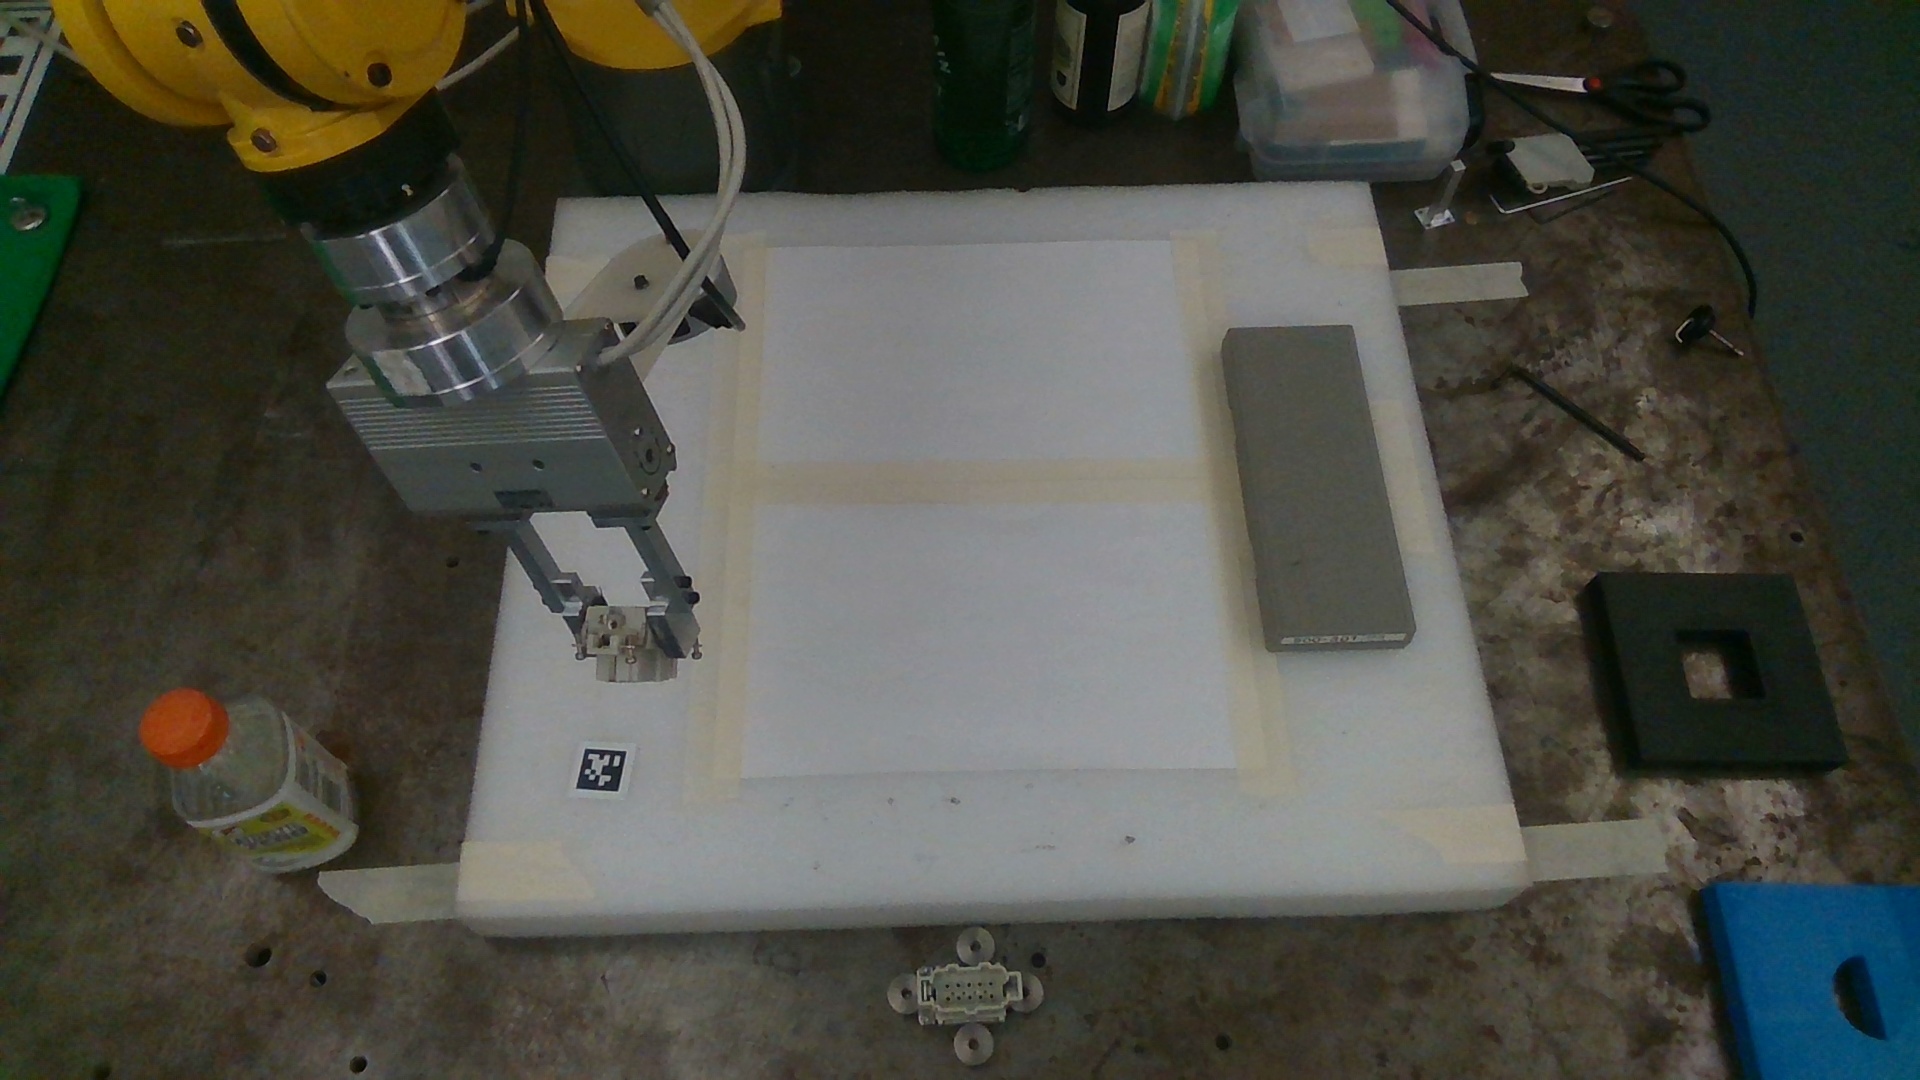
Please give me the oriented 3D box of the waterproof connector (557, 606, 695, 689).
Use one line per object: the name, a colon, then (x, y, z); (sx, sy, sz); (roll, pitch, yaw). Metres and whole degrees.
waterproof connector: (-0.162, 0.052, 0.677); (0.037, 0.069, 0.038); (1, 88, 23)
